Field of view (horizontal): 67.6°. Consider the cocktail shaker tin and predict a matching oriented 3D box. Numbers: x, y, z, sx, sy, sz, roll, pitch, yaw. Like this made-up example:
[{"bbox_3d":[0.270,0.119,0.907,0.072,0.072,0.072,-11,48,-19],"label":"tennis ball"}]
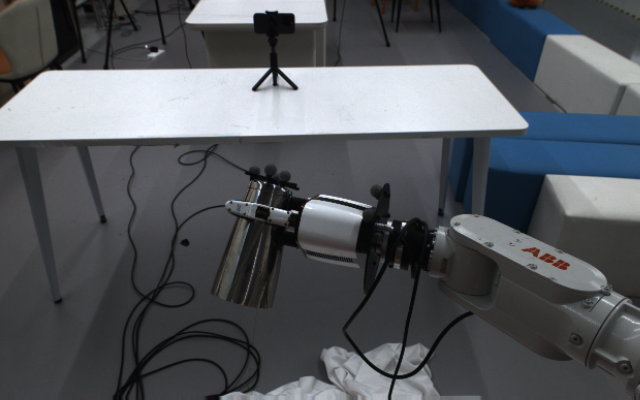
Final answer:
[{"bbox_3d":[-0.092,0.060,0.707,0.093,0.170,0.093,15,-5,1],"label":"cocktail shaker tin"}]
